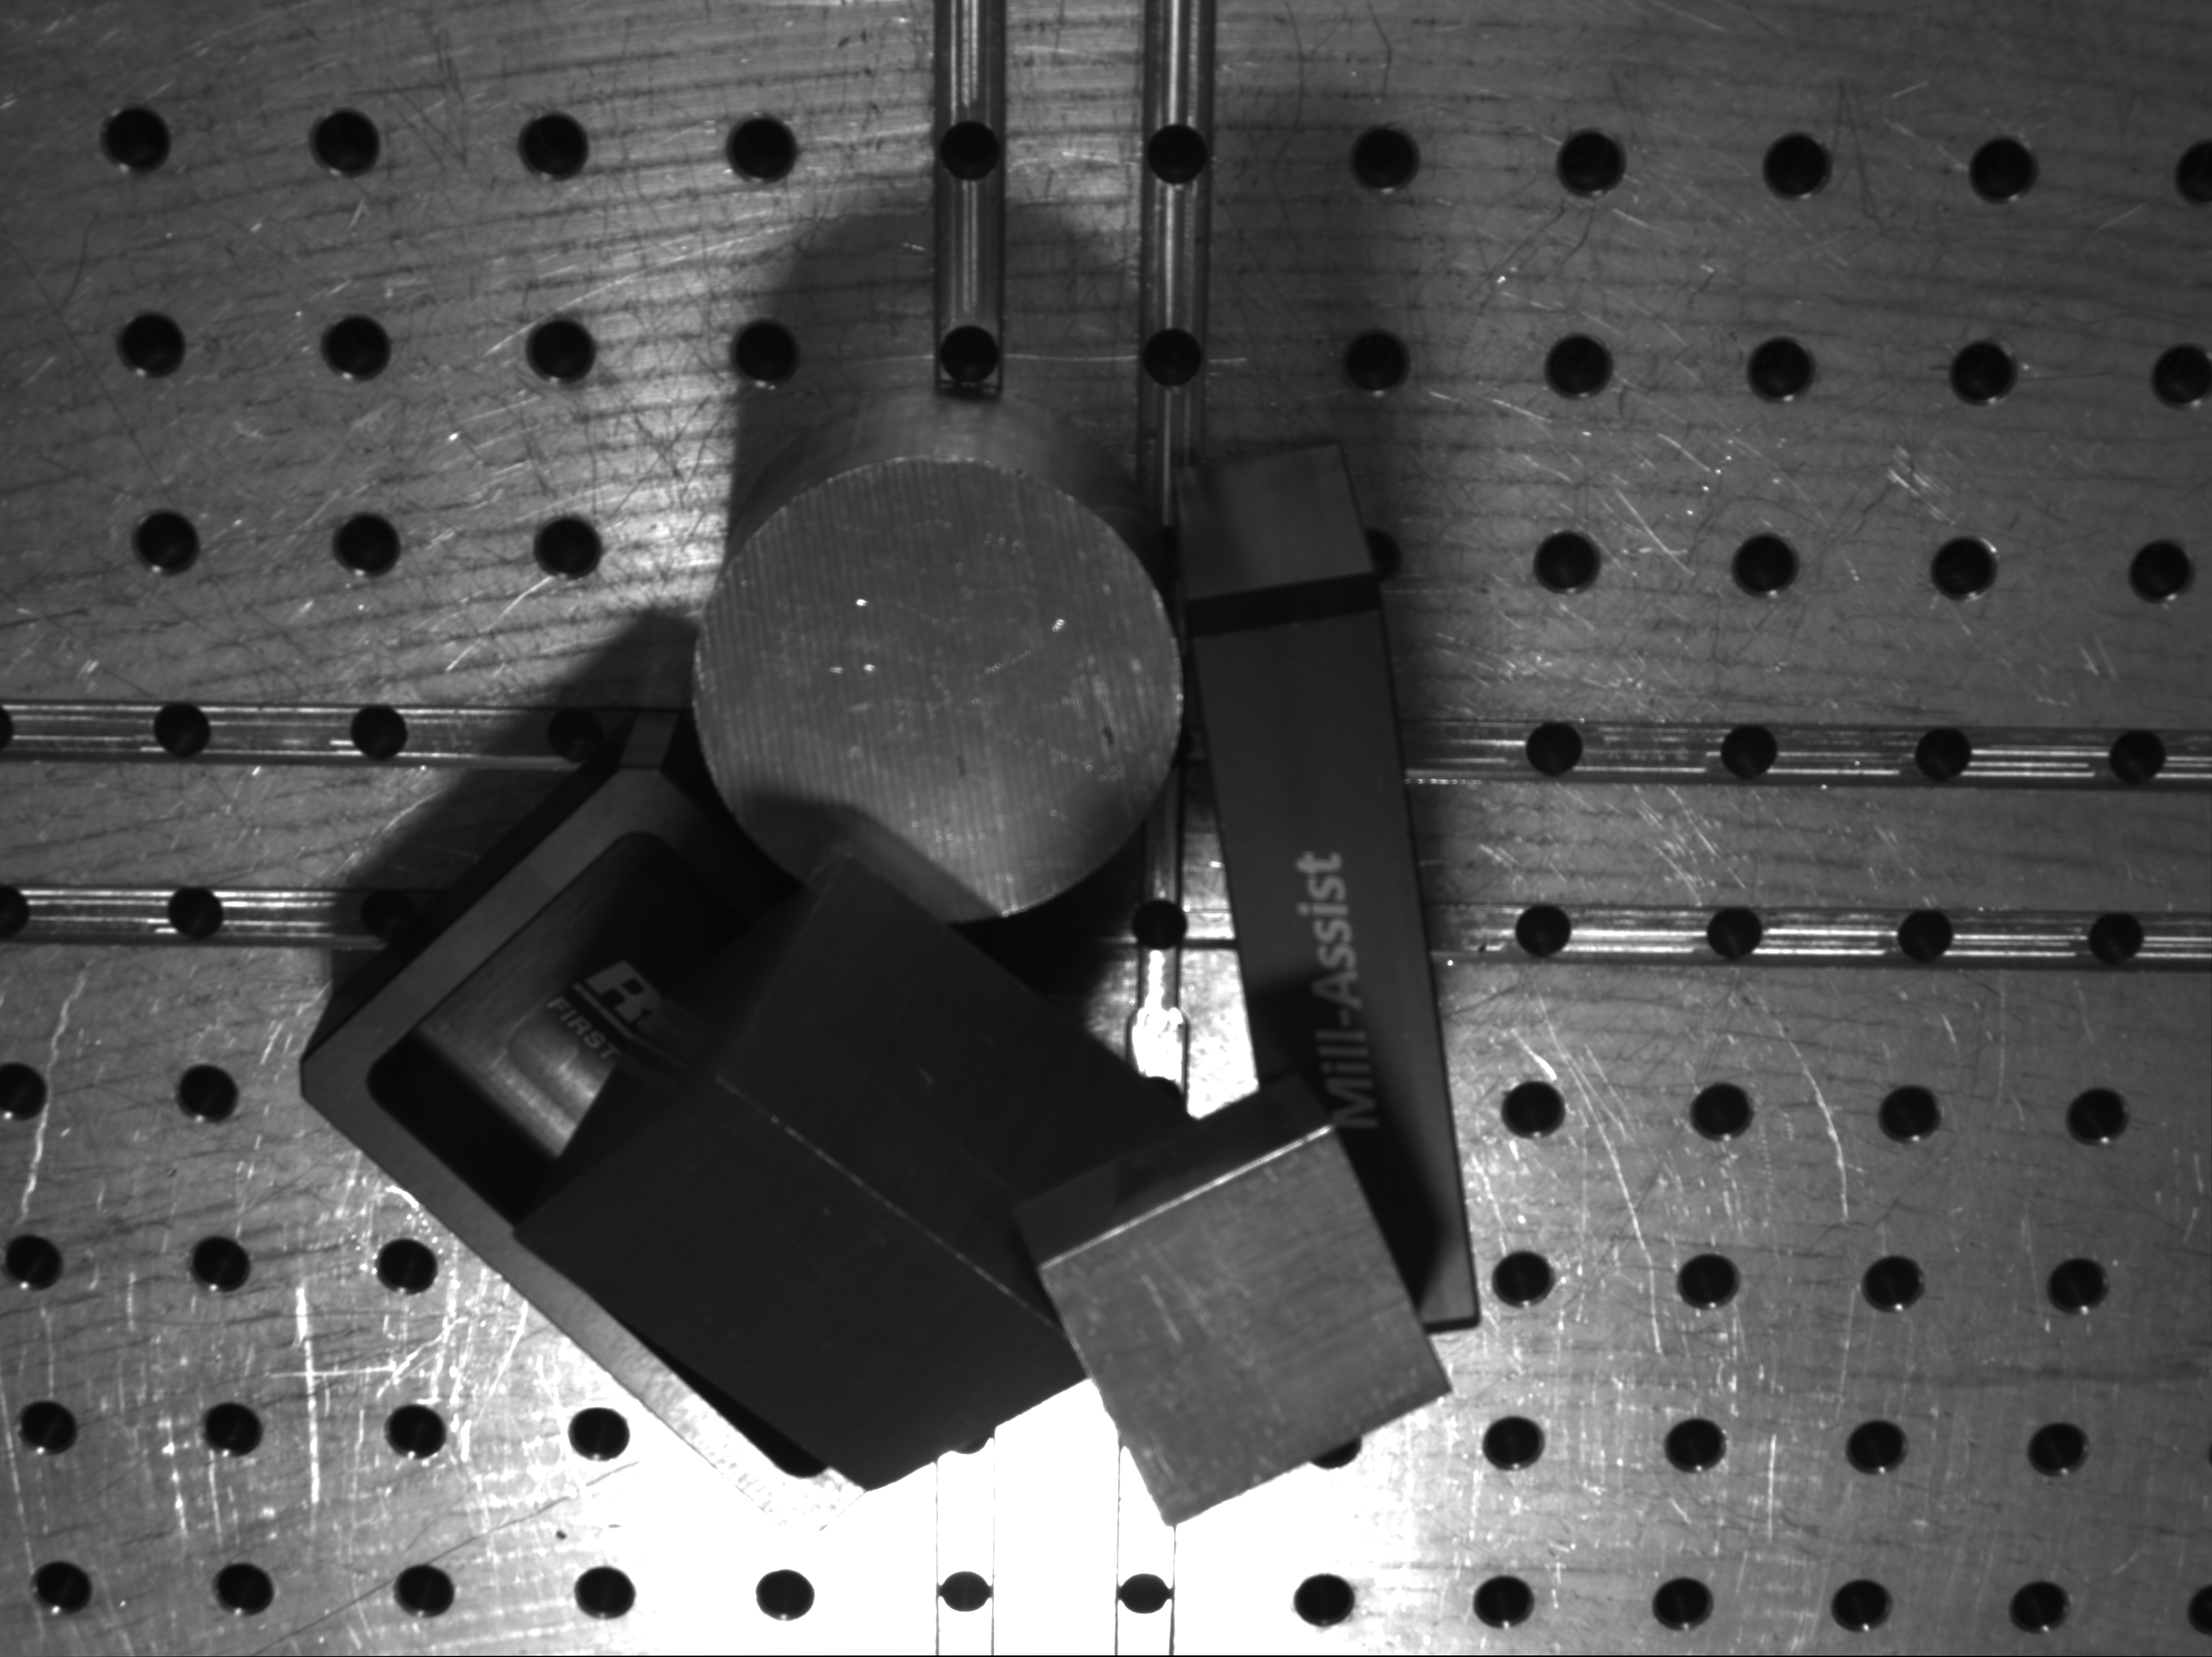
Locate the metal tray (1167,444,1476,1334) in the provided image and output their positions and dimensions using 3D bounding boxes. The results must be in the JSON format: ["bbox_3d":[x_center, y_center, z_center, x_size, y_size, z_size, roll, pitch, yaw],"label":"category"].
[{"bbox_3d":[0.035,0.010,0.615,0.030,0.090,0.130,-9,110,3],"label":"metal tray"}]

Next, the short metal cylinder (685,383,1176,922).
[{"bbox_3d":[-0.029,-0.031,0.621,0.080,0.050,0.080,0,110,-1],"label":"short metal cylinder"}]

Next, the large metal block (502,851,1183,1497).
[{"bbox_3d":[-0.042,0.061,0.621,0.080,0.050,0.080,38,141,-13],"label":"large metal block"}]

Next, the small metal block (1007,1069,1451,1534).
[{"bbox_3d":[0.019,0.074,0.572,0.050,0.025,0.050,-26,109,-3],"label":"small metal block"}]

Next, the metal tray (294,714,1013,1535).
[{"bbox_3d":[-0.068,0.055,0.661,0.090,0.030,0.130,-41,105,13],"label":"metal tray"}]
